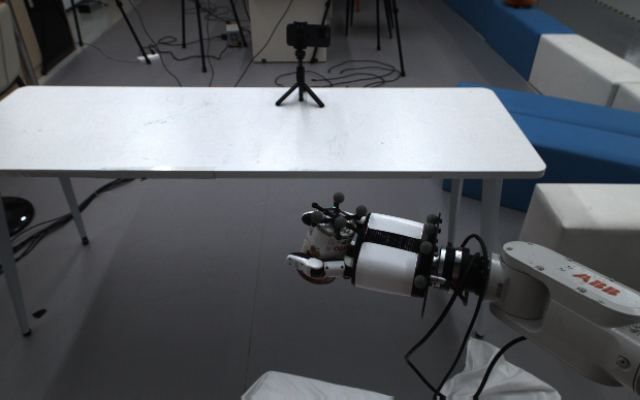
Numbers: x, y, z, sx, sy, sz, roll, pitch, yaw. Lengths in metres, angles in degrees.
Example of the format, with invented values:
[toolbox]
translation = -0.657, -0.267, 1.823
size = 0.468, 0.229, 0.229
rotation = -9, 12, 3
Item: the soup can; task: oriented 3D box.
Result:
[soup can]
translation = 0.009, 0.071, 0.736
size = 0.067, 0.101, 0.067
rotation = 14, 35, -10
